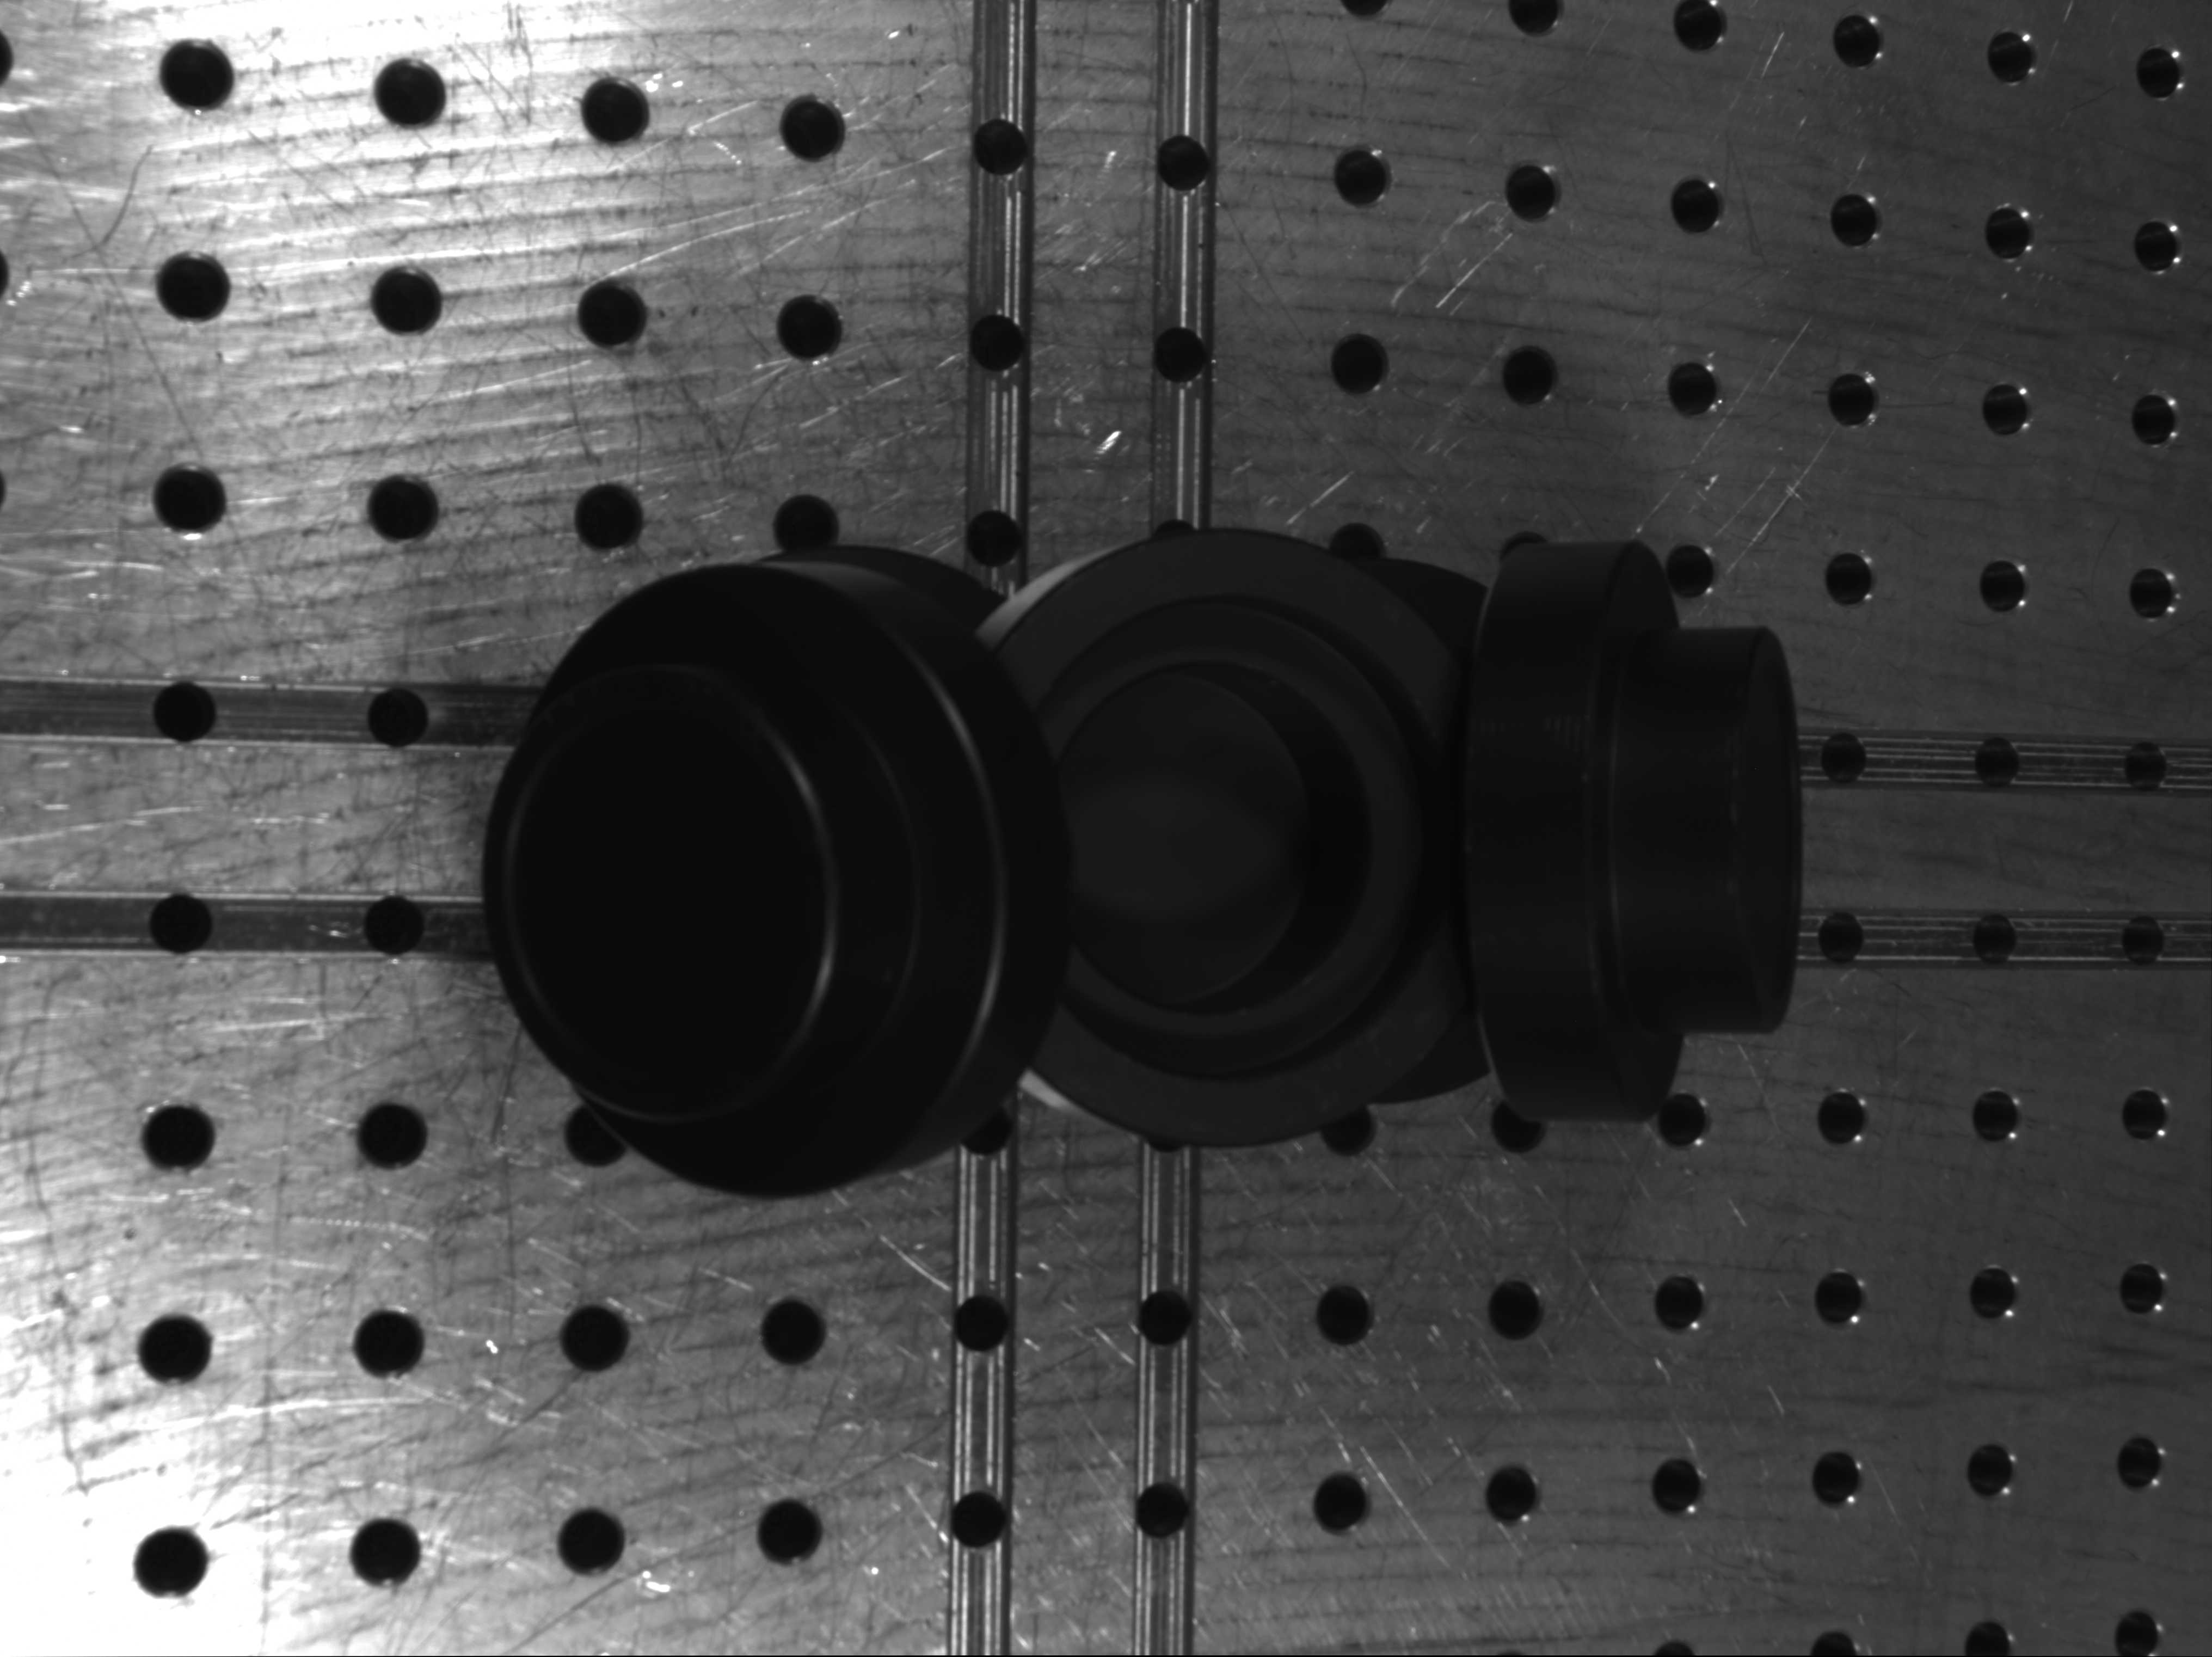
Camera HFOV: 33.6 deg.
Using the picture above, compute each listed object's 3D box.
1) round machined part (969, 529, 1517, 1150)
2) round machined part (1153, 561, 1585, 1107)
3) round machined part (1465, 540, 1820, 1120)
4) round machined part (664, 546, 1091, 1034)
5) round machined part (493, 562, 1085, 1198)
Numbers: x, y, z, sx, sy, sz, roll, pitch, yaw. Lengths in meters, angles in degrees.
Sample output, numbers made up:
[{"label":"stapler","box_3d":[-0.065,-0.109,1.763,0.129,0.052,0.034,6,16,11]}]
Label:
[{"label":"round machined part","box_3d":[0.016,0.002,0.597,0.098,0.042,0.098,0,90,-20]},{"label":"round machined part","box_3d":[0.052,0.001,0.655,0.098,0.042,0.098,0,90,-20]},{"label":"round machined part","box_3d":[0.093,0.000,0.617,0.042,0.098,0.098,0,90,21]},{"label":"round machined part","box_3d":[-0.040,0.001,0.622,0.098,0.042,0.098,0,90,-20]},{"label":"round machined part","box_3d":[-0.055,0.008,0.563,0.042,0.098,0.098,-8,93,-57]}]
